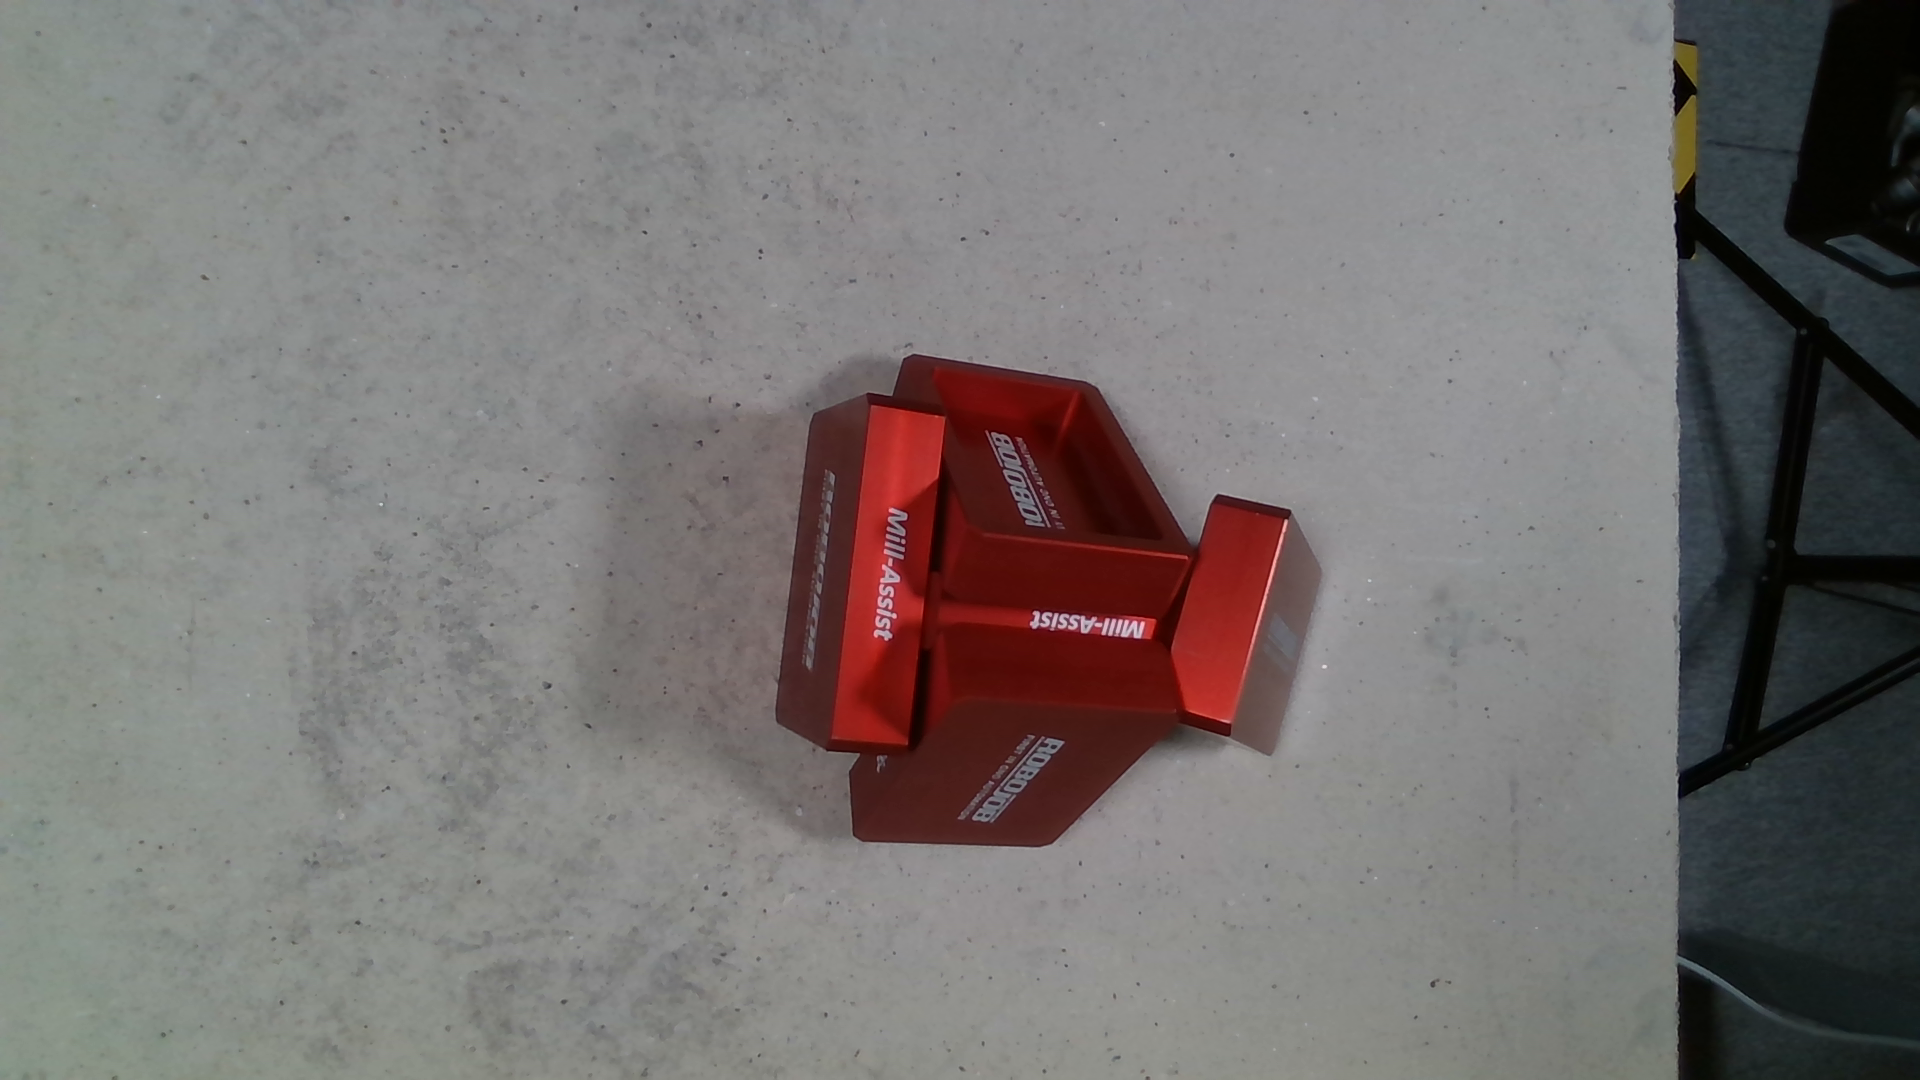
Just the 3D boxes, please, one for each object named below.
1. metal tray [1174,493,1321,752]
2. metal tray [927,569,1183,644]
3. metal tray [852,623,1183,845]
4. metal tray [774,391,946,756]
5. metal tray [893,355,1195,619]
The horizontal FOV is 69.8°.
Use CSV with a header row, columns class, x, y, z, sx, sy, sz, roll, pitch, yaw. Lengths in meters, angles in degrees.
class,x,y,z,sx,sy,sz,roll,pitch,yaw
metal tray,0.121,0.040,0.582,0.030,0.130,0.090,14,84,21
metal tray,0.034,0.032,0.563,0.130,0.090,0.030,8,87,-20
metal tray,0.017,0.081,0.539,0.090,0.130,0.030,6,54,-20
metal tray,-0.041,0.013,0.536,0.030,0.090,0.130,7,88,-20
metal tray,0.027,-0.024,0.544,0.090,0.130,0.030,6,124,-20
